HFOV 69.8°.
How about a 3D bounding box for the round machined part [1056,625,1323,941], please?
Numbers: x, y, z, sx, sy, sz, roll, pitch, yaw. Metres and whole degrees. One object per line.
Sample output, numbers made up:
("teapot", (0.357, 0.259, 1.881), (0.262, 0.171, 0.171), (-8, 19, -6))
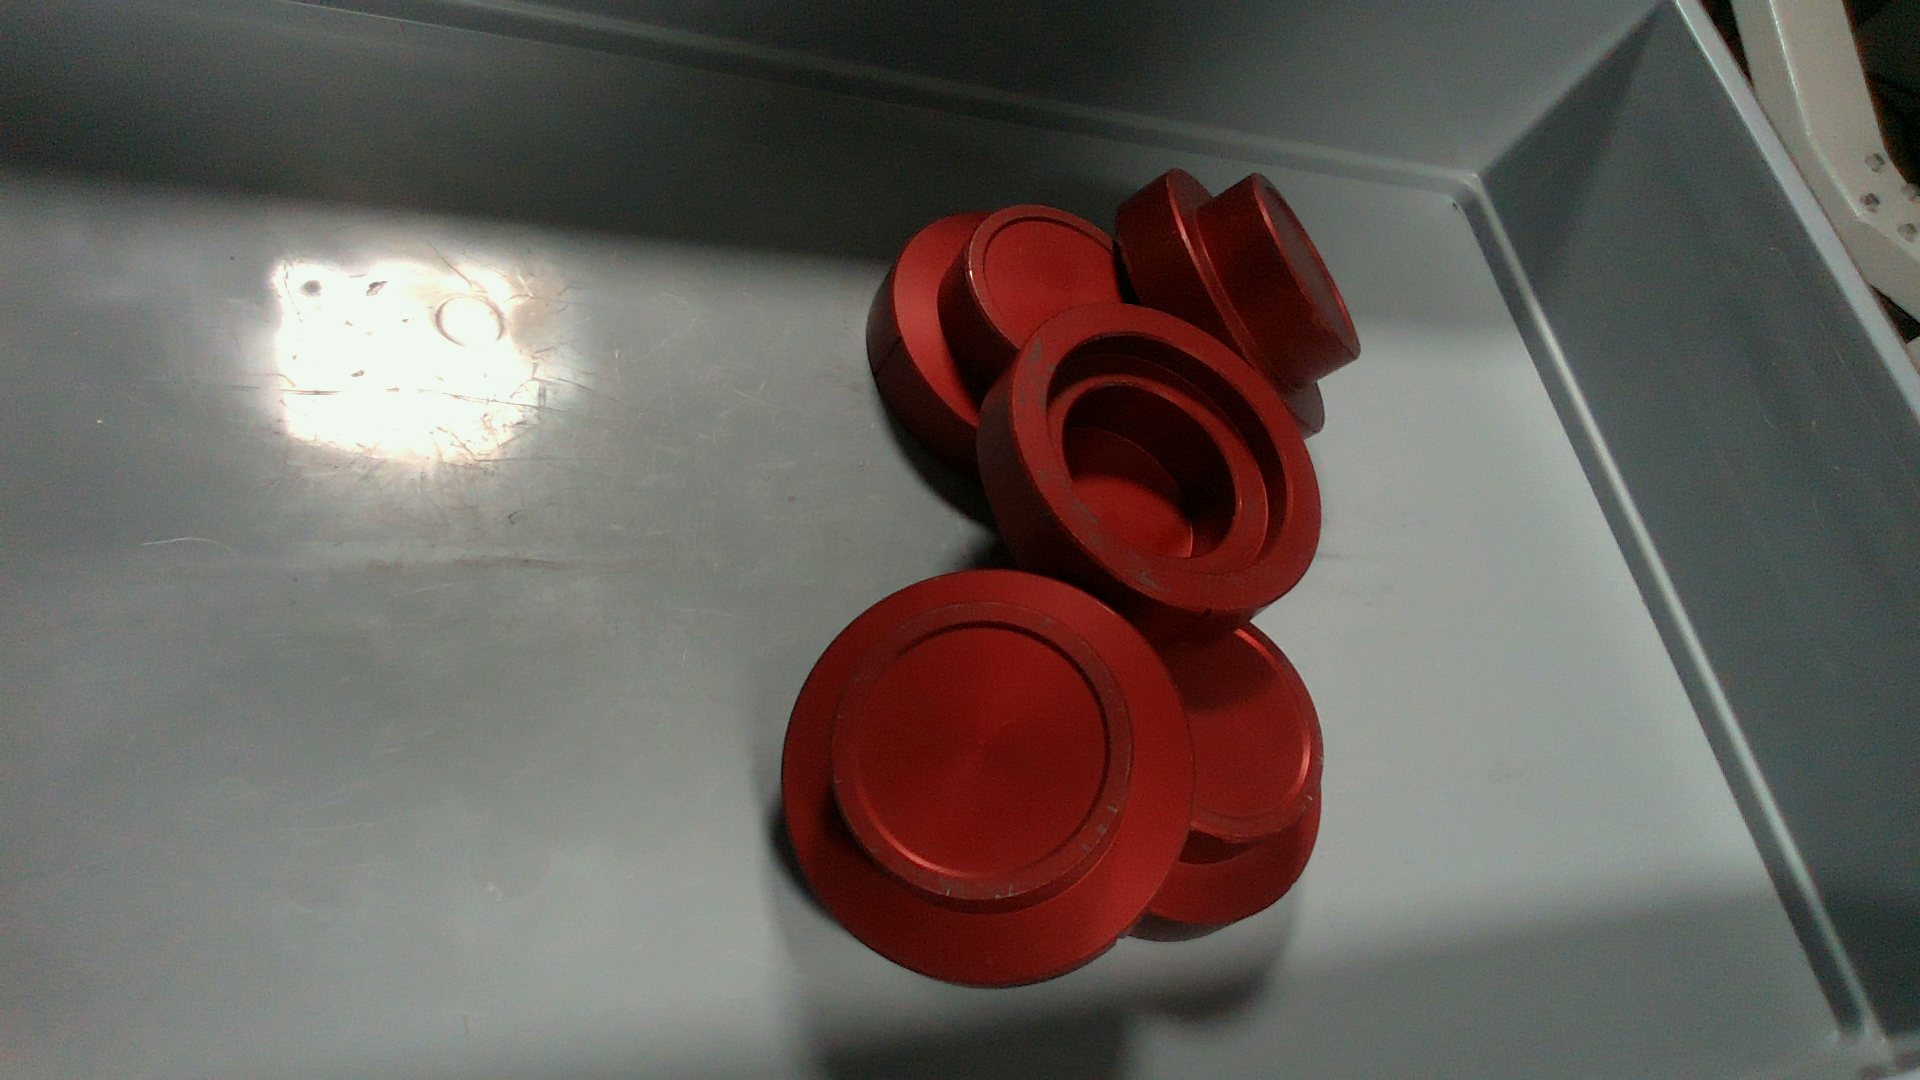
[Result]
("round machined part", (0.058, 0.055, 0.375), (0.098, 0.042, 0.098), (14, 56, -21))

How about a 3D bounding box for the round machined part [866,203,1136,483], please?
("round machined part", (0.023, -0.065, 0.429), (0.098, 0.042, 0.098), (14, 56, -21))

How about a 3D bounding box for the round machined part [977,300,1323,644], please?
("round machined part", (0.049, -0.015, 0.385), (0.098, 0.042, 0.098), (14, 56, -21))

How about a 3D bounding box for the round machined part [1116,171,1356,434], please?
("round machined part", (0.095, -0.079, 0.449), (0.098, 0.042, 0.098), (44, 29, -32))

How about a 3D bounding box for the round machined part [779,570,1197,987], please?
("round machined part", (0.006, 0.053, 0.321), (0.098, 0.042, 0.098), (-1, 69, 3))
